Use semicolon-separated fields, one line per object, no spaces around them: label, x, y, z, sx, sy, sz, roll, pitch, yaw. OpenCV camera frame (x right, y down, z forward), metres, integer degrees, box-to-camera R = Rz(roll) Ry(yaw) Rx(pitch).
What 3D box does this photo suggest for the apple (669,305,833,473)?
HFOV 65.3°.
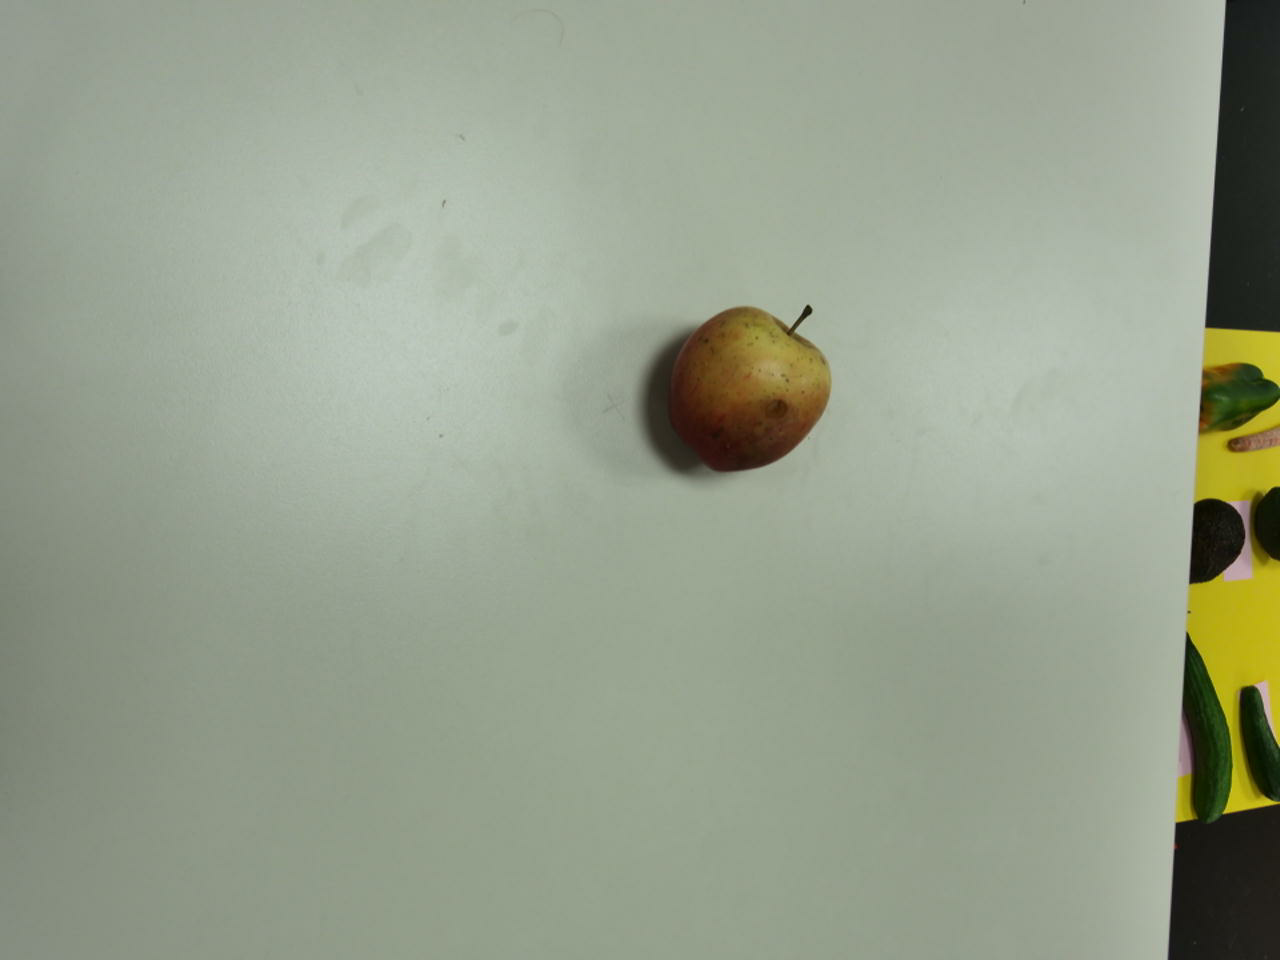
apple;0.061;-0.051;0.554;0.093;0.084;0.086;-34;102;-19
